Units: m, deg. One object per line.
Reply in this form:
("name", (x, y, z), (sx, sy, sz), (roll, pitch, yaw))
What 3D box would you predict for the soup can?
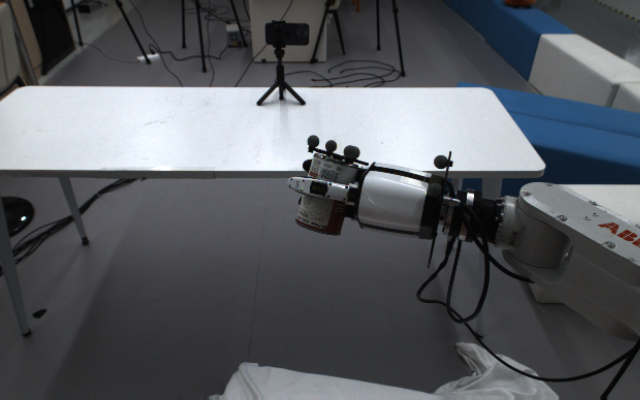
("soup can", (0.011, -0.008, 0.683), (0.067, 0.101, 0.067), (15, 7, -2))
